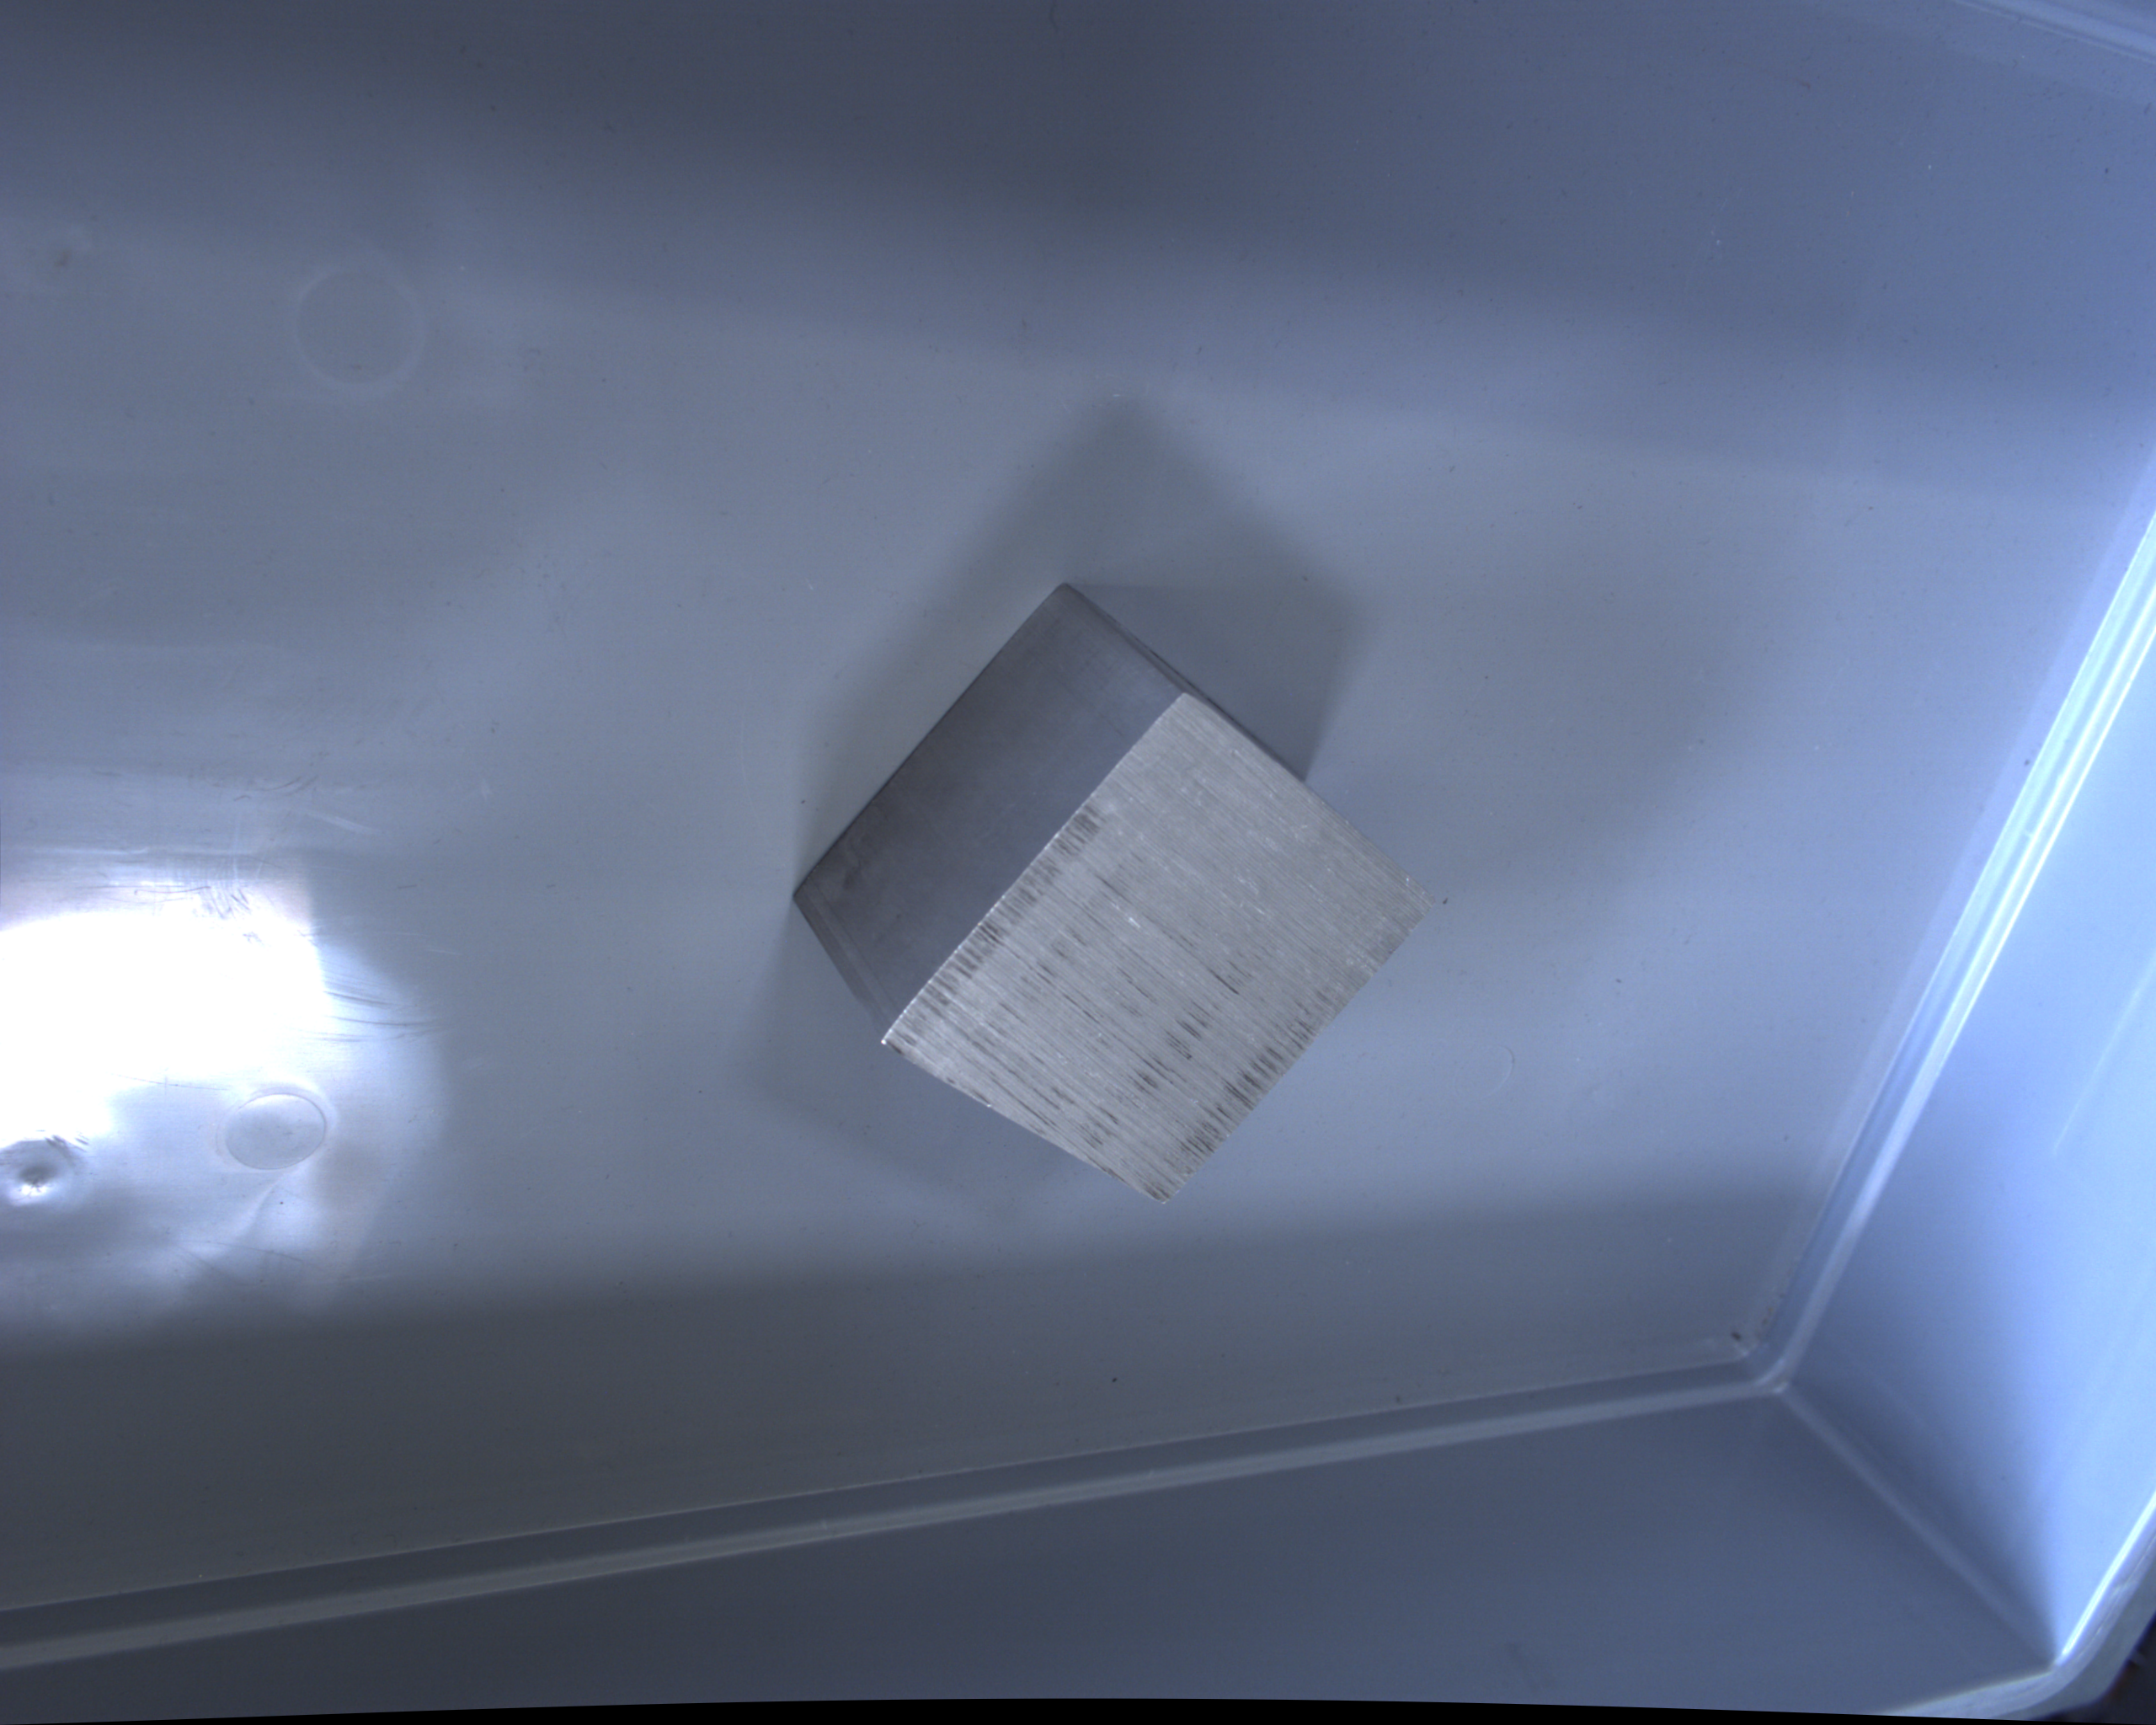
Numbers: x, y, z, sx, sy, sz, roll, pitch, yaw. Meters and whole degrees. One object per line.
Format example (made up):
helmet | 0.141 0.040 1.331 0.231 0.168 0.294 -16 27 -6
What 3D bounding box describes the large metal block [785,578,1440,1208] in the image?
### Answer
large metal block | 0.007 0.007 0.396 0.080 0.050 0.080 -49 129 6
